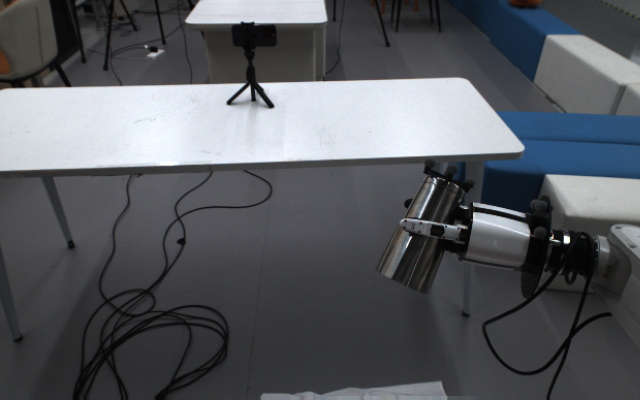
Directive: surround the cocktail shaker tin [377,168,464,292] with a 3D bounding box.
[{"bbox_3d":[0.166,0.048,0.766,0.093,0.170,0.093,23,0,0],"label":"cocktail shaker tin"}]
